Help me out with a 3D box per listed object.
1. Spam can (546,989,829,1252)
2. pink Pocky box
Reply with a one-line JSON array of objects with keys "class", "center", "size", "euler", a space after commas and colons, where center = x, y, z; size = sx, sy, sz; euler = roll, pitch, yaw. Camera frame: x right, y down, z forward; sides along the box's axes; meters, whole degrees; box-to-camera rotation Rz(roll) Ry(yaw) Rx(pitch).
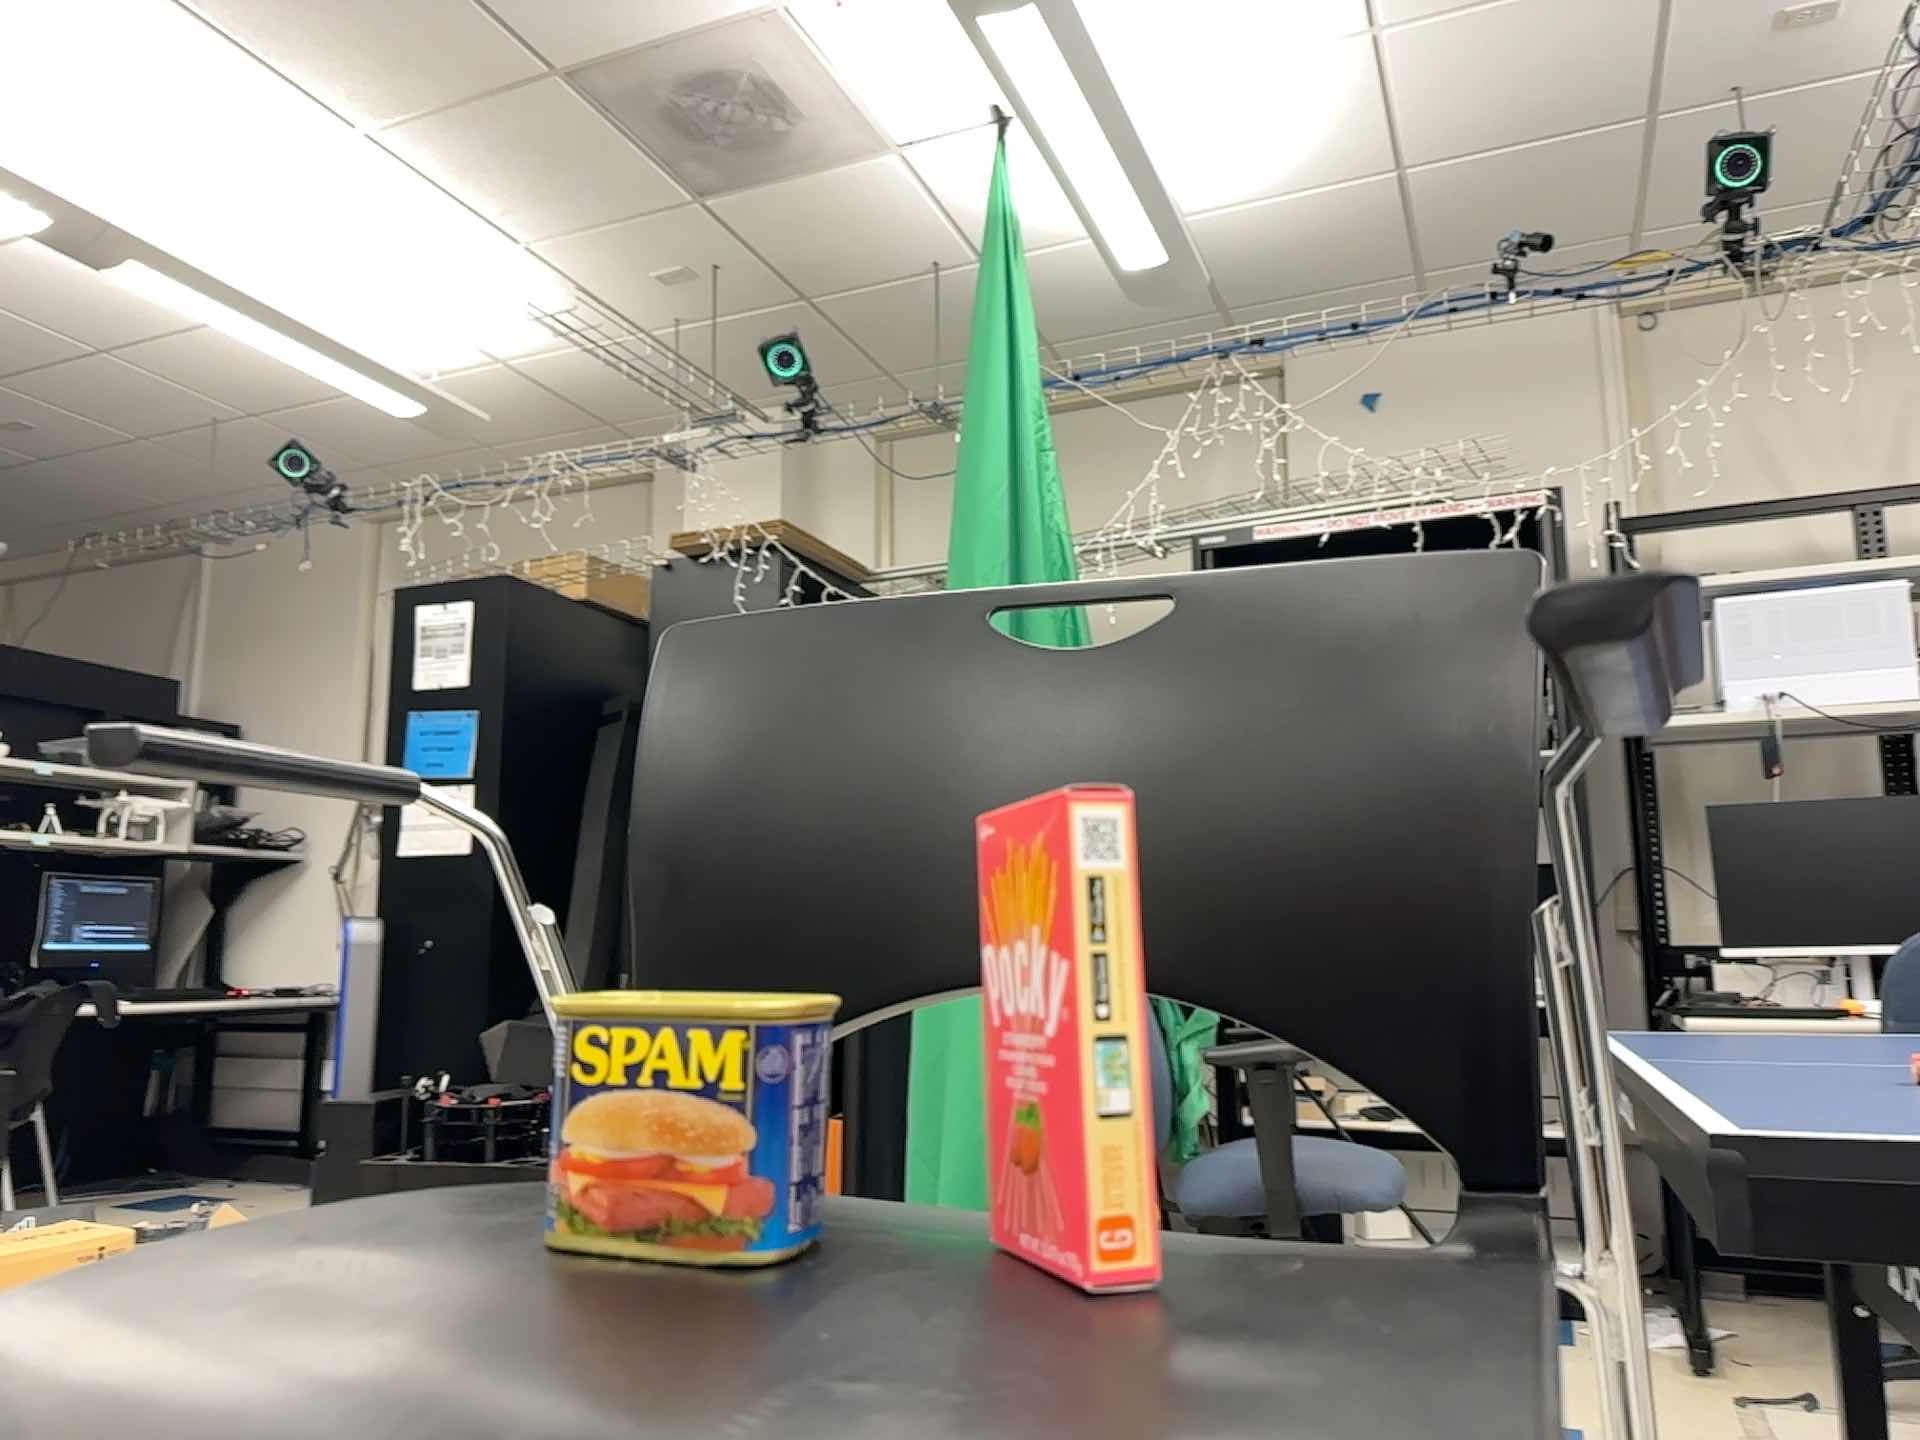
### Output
[{"class": "Spam can", "center": [-0.100, 0.142, 0.489], "size": [0.100, 0.083, 0.056], "euler": [-4, -12, 27]}, {"class": "pink Pocky box", "center": [0.034, 0.105, 0.462], "size": [0.029, 0.154, 0.084], "euler": [2, -13, -19]}]
